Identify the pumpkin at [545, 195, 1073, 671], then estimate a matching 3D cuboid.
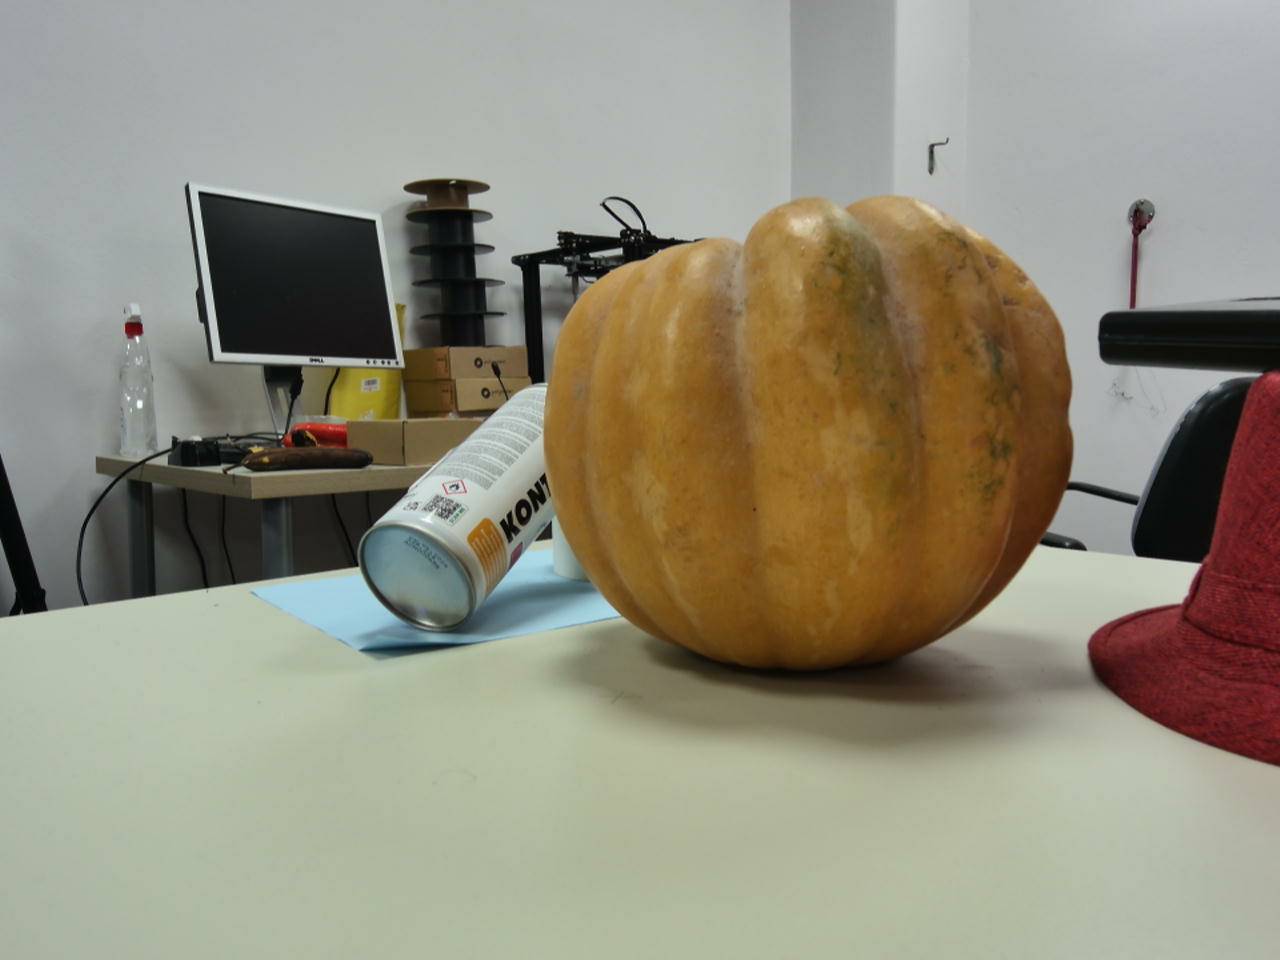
[{"bbox_3d":[0.071,-0.017,0.451,0.230,0.194,0.230,1,3,0],"label":"pumpkin"}]
